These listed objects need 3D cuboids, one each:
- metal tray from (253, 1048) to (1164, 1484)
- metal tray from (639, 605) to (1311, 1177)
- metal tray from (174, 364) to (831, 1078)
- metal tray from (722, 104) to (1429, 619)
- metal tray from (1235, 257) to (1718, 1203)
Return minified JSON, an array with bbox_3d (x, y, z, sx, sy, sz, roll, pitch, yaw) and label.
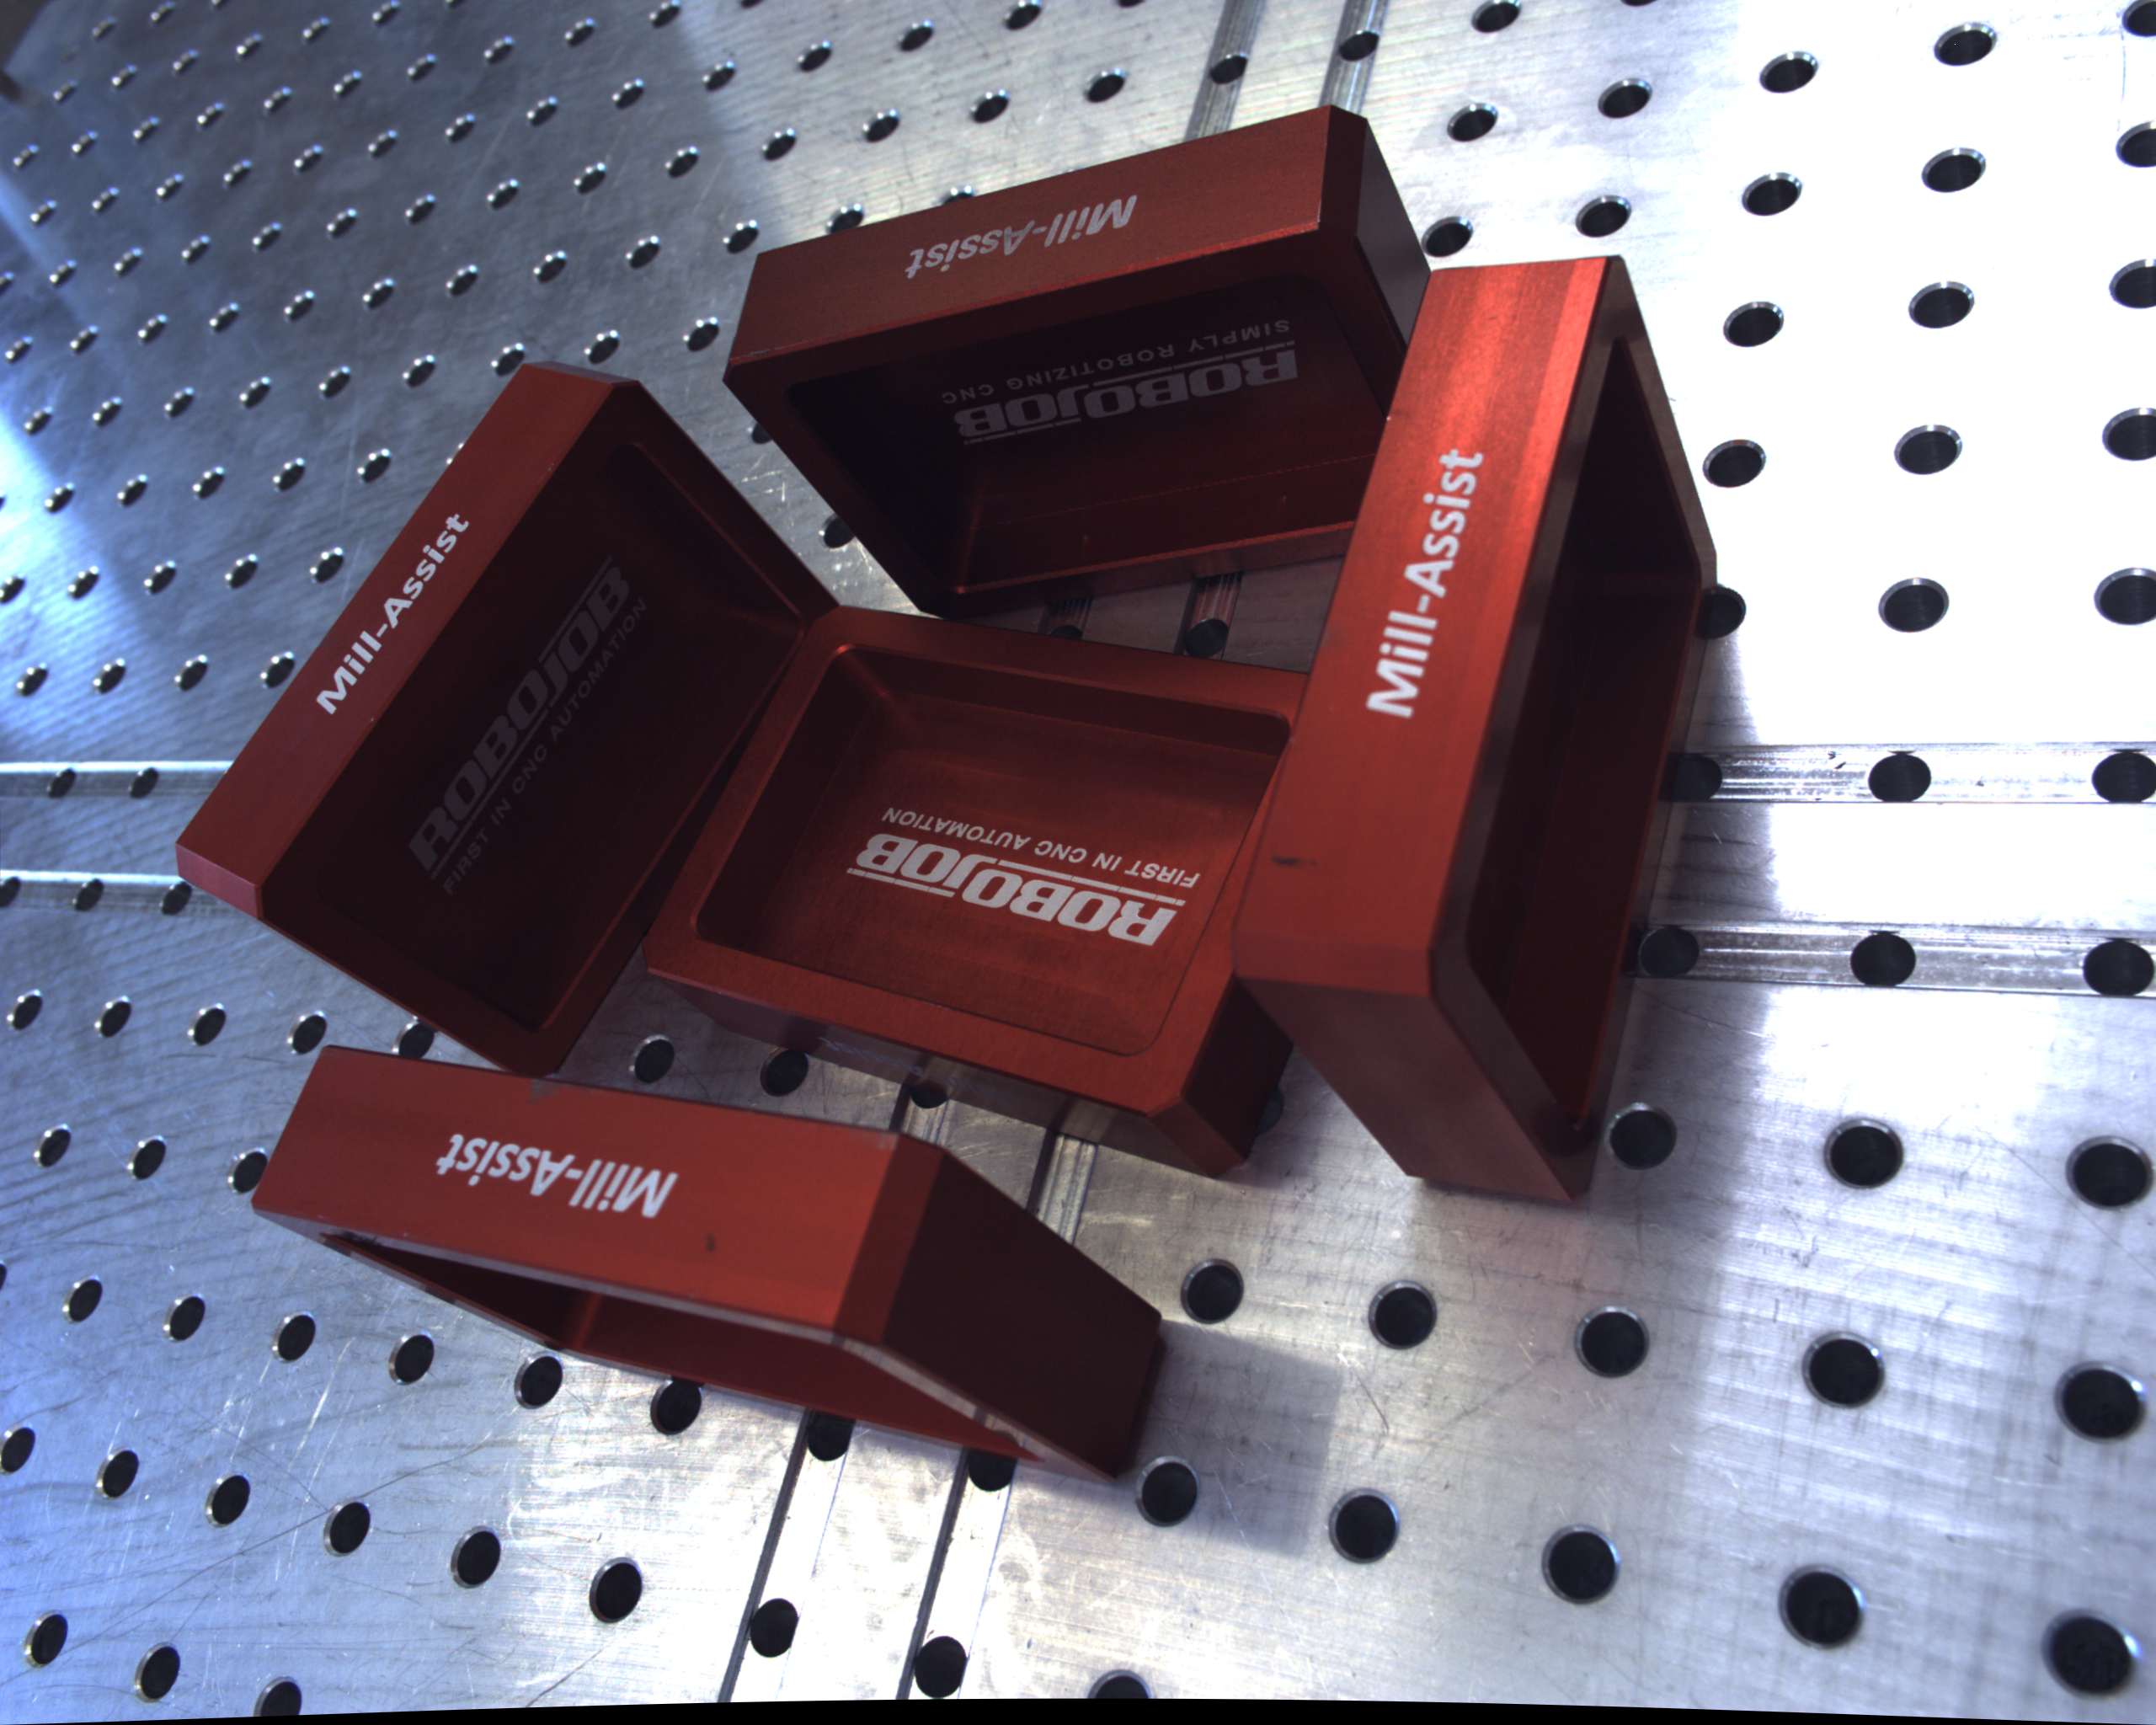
[{"bbox_3d":[-0.062,0.069,0.358,0.130,0.090,0.030,4,64,30],"label":"metal tray"},{"bbox_3d":[-0.014,0.001,0.412,0.130,0.030,0.090,12,68,33],"label":"metal tray"},{"bbox_3d":[-0.115,-0.028,0.446,0.030,0.090,0.130,20,72,36],"label":"metal tray"},{"bbox_3d":[0.007,-0.094,0.421,0.130,0.090,0.030,-6,59,25],"label":"metal tray"},{"bbox_3d":[0.071,-0.021,0.342,0.030,0.090,0.130,5,64,30],"label":"metal tray"}]
